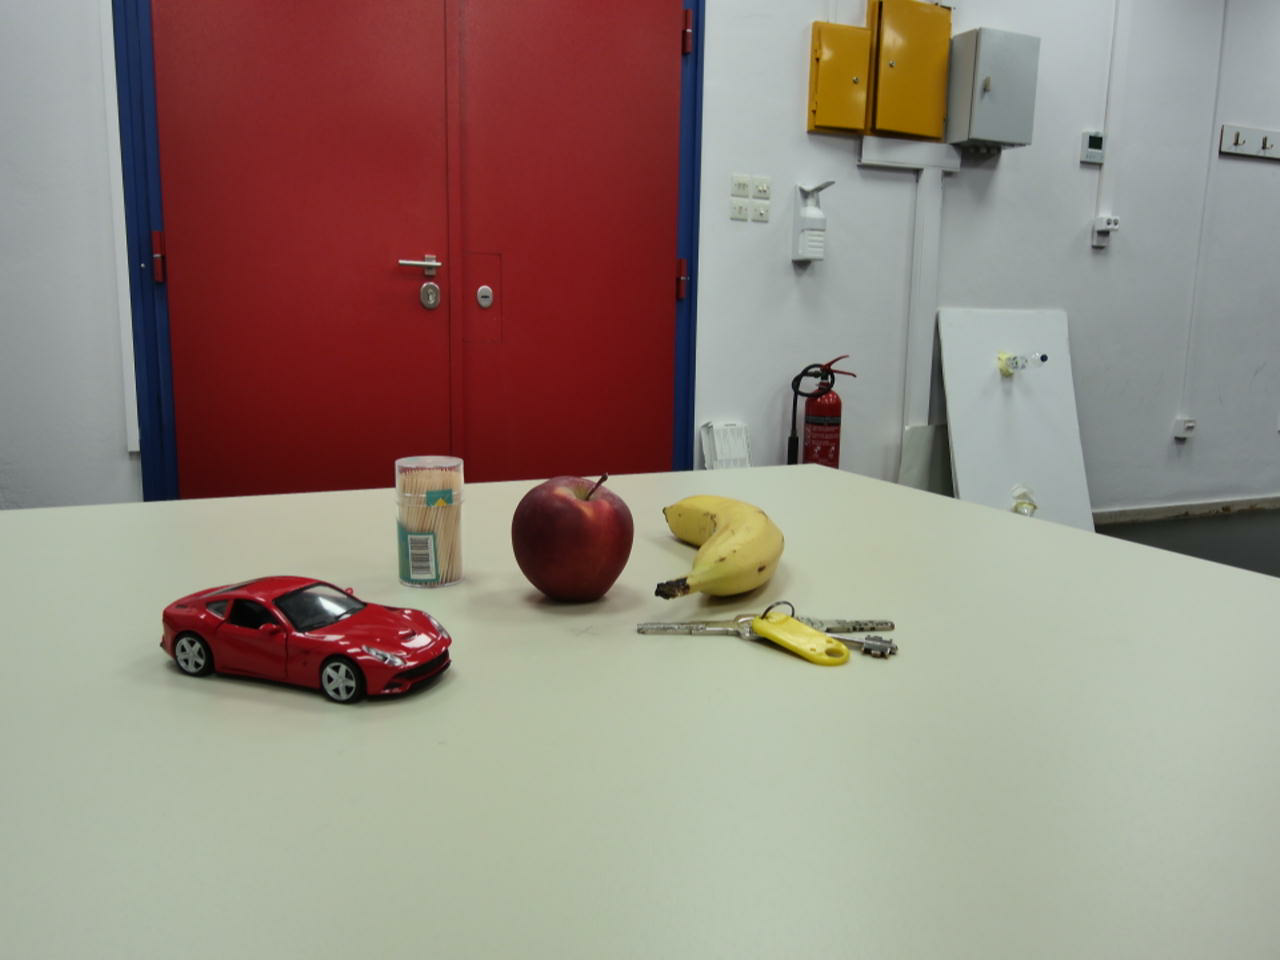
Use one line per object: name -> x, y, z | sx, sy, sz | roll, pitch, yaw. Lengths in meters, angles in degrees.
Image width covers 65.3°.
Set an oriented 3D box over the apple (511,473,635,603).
apple -> -0.038, 0.033, 0.572 | 0.070, 0.072, 0.070 | 0, 8, 0
